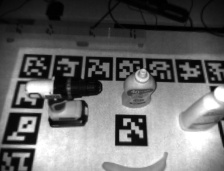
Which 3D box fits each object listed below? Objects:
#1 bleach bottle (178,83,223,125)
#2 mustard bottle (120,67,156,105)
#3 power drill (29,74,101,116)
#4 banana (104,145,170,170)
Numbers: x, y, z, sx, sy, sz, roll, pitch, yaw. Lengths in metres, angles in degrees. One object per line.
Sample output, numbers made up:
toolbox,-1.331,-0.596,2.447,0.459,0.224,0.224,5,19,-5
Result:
bleach bottle,0.273,0.045,0.608,0.102,0.251,0.068,7,64,2
mustard bottle,0.081,0.000,0.655,0.096,0.192,0.058,-7,65,-7
power drill,-0.108,0.027,0.597,0.184,0.188,0.057,-7,65,-1
banana,0.076,0.221,0.622,0.197,0.039,0.074,-5,67,-2
